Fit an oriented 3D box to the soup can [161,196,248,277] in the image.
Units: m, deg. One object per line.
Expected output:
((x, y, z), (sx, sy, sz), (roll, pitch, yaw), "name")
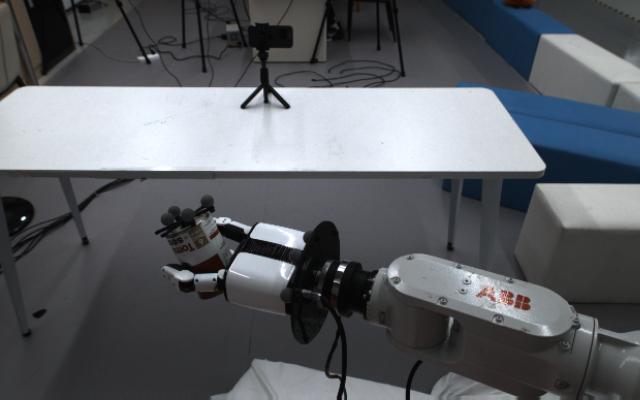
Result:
((-0.157, 0.077, 0.664), (0.067, 0.101, 0.067), (-23, 16, 7), "soup can")
